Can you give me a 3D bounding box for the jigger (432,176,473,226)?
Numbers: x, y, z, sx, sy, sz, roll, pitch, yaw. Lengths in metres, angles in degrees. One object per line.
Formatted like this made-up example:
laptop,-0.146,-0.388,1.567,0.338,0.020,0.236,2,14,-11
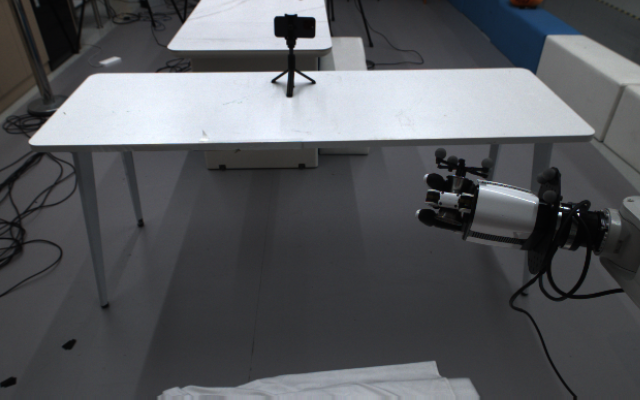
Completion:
jigger,0.207,0.000,0.740,0.043,0.071,0.043,16,-7,2
